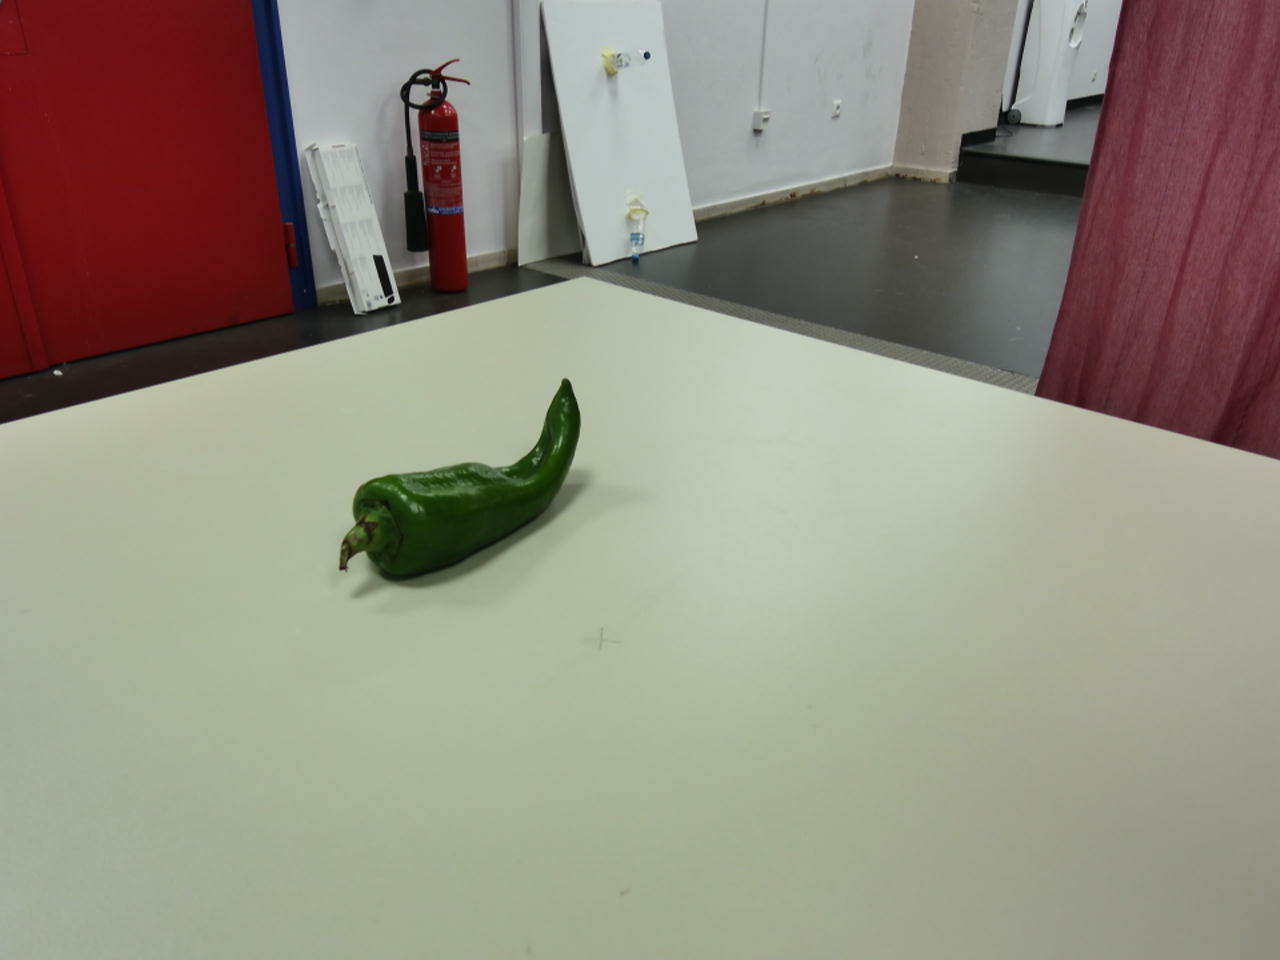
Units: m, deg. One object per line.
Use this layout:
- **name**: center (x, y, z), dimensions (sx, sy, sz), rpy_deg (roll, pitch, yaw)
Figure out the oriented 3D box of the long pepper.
- **long pepper**: center (-0.086, 0.000, 0.524), dimensions (0.058, 0.065, 0.175), rpy_deg (19, 31, 35)
